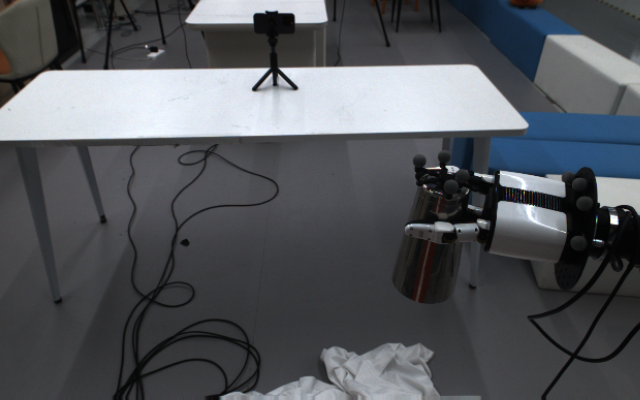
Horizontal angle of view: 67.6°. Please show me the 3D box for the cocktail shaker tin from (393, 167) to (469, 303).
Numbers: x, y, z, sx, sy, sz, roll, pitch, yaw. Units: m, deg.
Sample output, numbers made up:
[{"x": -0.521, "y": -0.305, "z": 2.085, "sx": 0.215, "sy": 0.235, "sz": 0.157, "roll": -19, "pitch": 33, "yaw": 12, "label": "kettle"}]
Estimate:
[{"x": 0.160, "y": 0.047, "z": 0.675, "sx": 0.093, "sy": 0.170, "sz": 0.093, "roll": 3, "pitch": 33, "yaw": -2, "label": "cocktail shaker tin"}]
